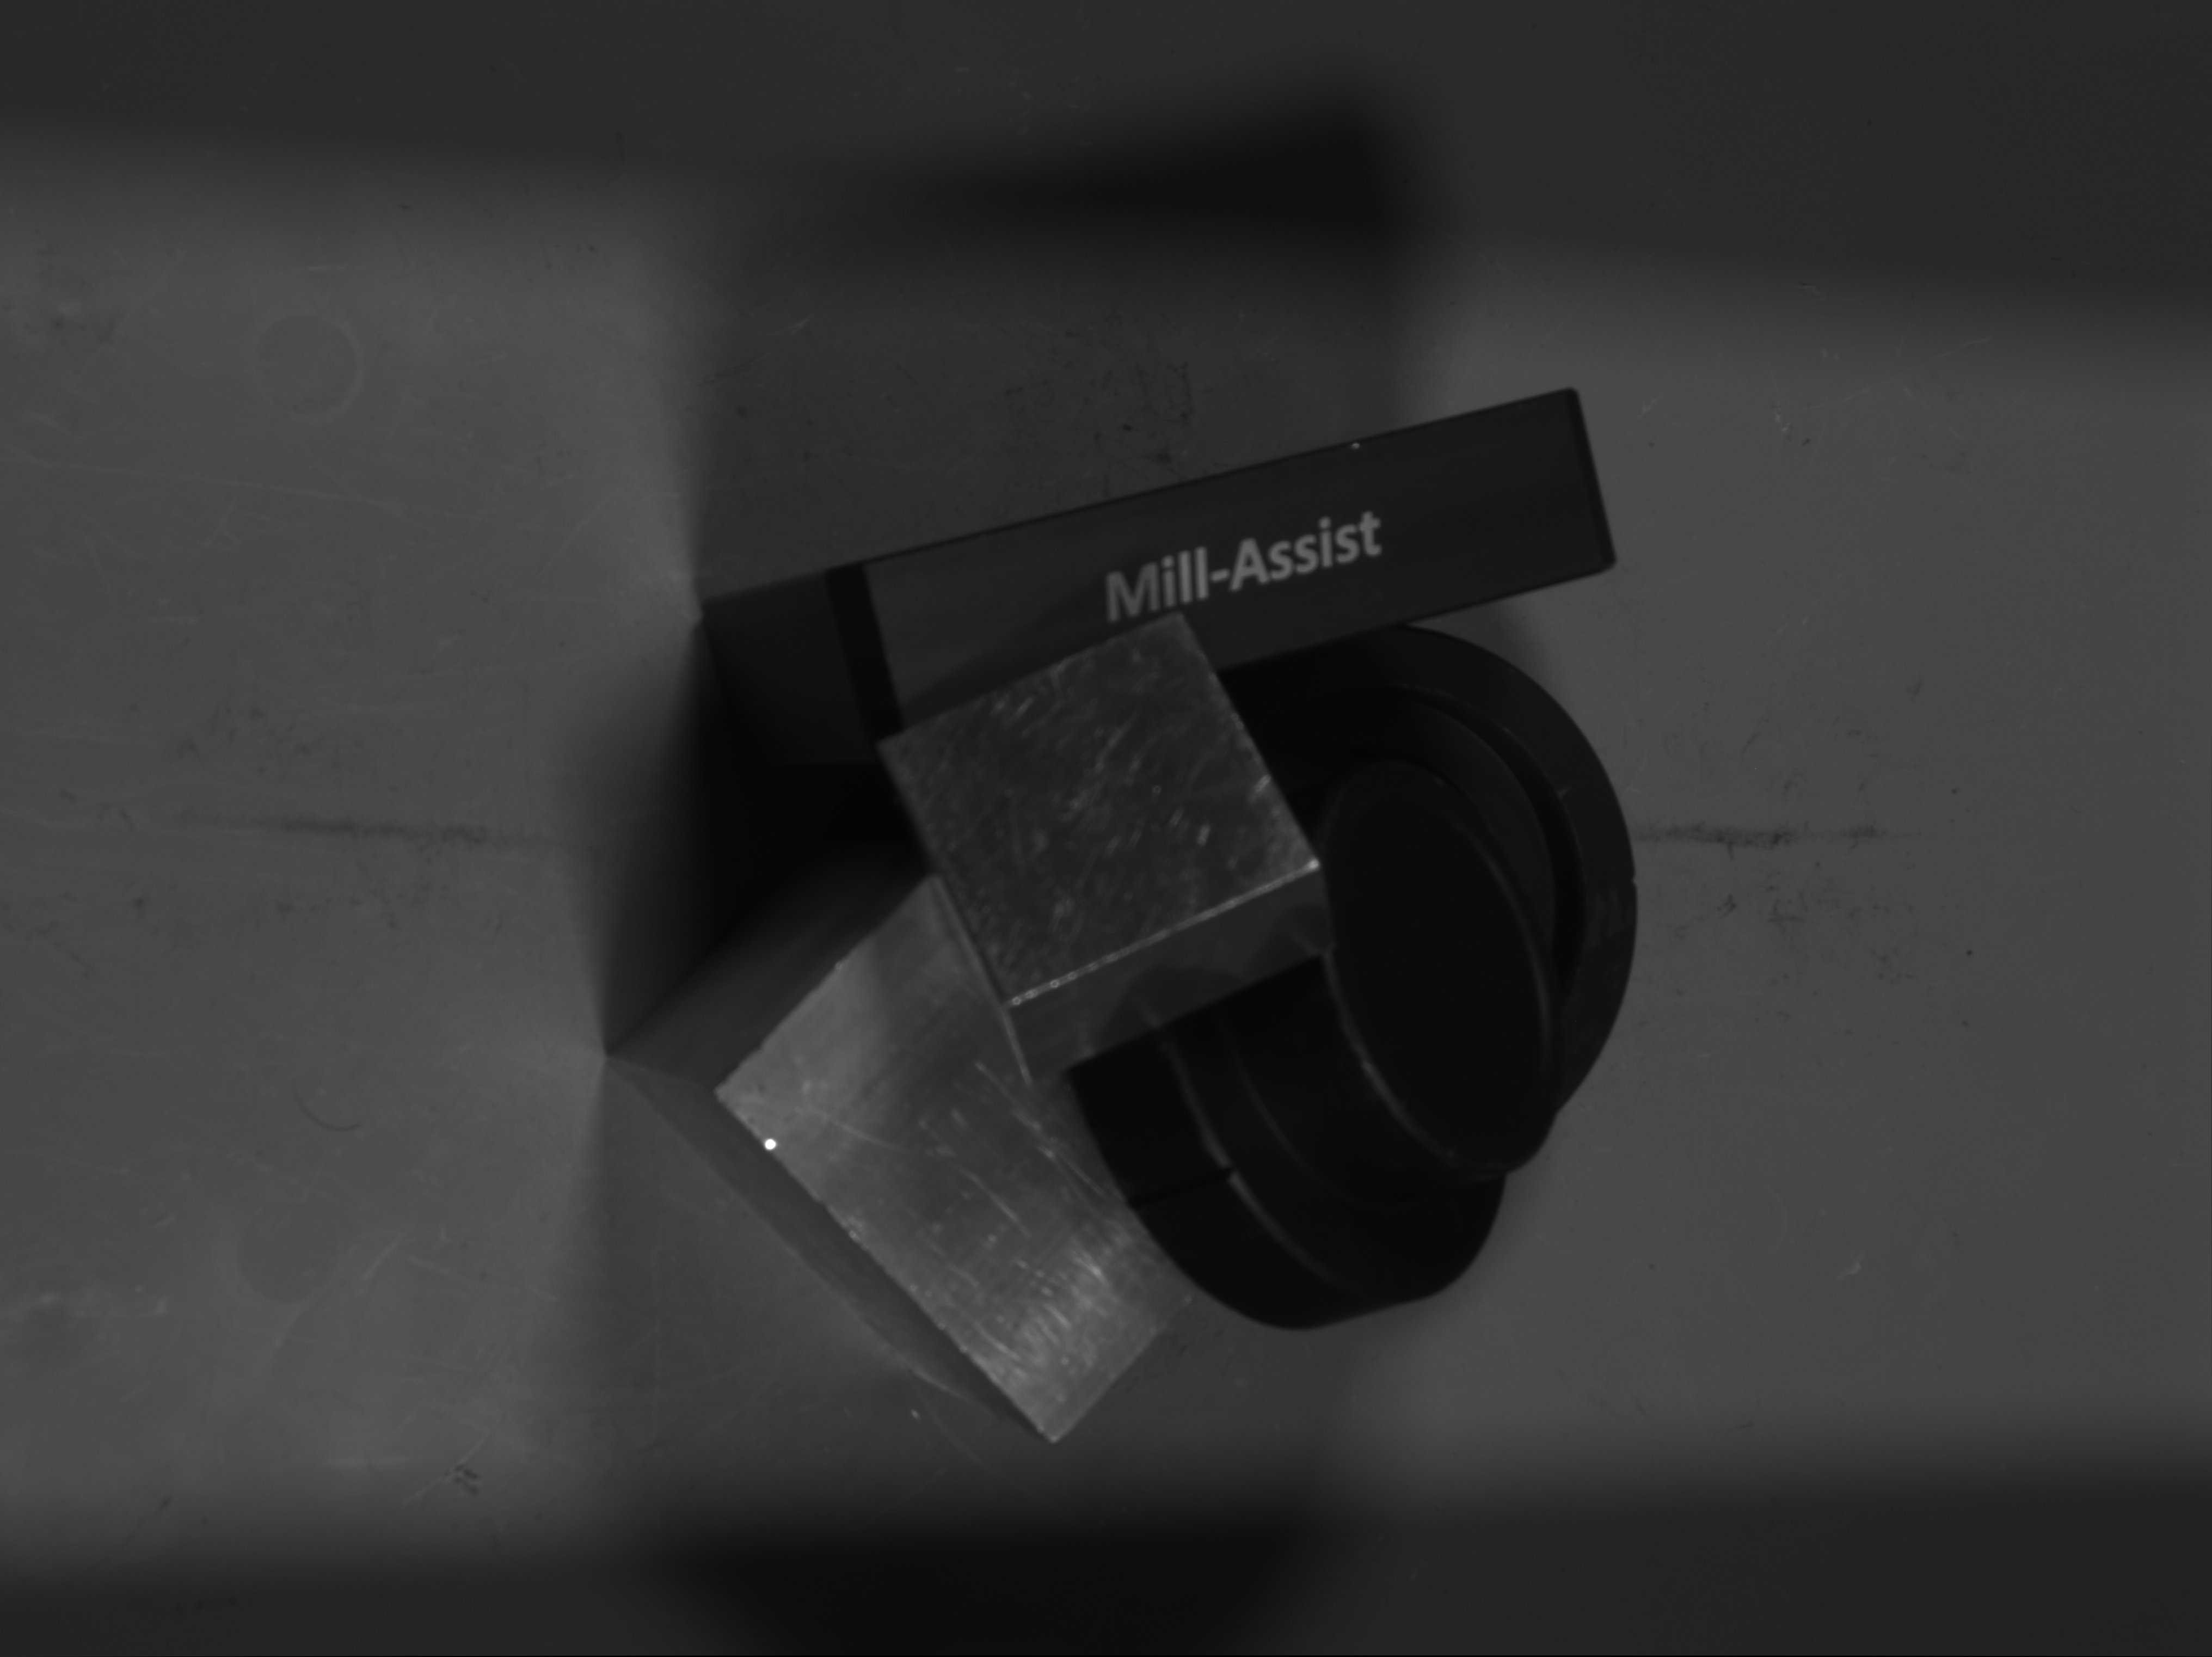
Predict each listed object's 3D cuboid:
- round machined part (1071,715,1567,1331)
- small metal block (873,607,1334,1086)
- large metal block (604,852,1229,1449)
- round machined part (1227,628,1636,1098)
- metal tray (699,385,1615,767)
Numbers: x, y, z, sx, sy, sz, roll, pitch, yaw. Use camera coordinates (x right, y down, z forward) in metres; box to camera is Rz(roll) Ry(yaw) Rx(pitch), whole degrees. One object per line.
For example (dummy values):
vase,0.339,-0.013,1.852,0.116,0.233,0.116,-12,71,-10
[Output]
round machined part,0.038,0.028,0.585,0.098,0.042,0.098,31,48,-43
small metal block,0.000,0.002,0.544,0.050,0.025,0.050,-24,59,-6
large metal block,-0.030,0.050,0.603,0.050,0.080,0.080,-46,104,-14
round machined part,0.041,0.013,0.649,0.098,0.042,0.098,0,90,-20
metal tray,0.007,-0.041,0.610,0.130,0.090,0.030,-16,96,-19
